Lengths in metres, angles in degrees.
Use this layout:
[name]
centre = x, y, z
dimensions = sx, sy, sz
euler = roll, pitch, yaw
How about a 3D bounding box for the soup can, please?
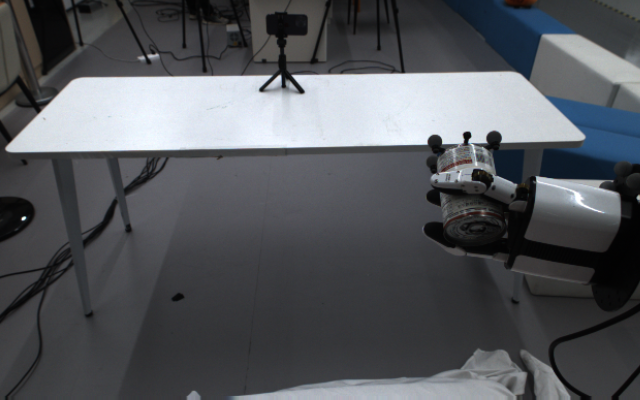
[soup can]
centre = 0.175, -0.007, 0.560
dimensions = 0.067, 0.067, 0.101
euler = 3, 57, 1
